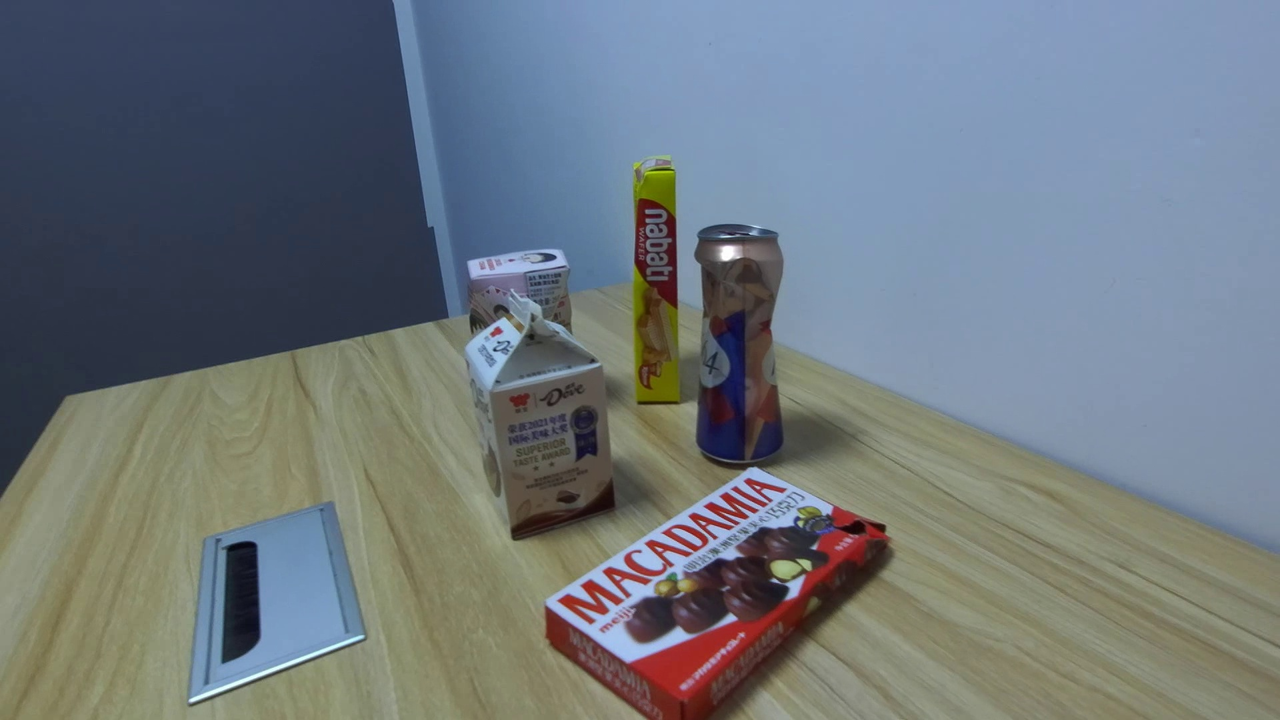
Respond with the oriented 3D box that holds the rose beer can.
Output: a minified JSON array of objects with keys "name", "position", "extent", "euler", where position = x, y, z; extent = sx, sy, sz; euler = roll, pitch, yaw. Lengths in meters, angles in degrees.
[{"name":"rose beer can","position":[0.072,-0.010,0.502],"extent":[0.065,0.167,0.076],"euler":[0,19,5]}]

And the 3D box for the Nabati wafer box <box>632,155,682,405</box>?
[{"name":"Nabati wafer box","position":[0.013,-0.069,0.618],"extent":[0.042,0.203,0.096],"euler":[-2,23,3]}]

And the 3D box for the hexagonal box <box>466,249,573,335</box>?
[{"name":"hexagonal box","position":[-0.098,-0.022,0.613],"extent":[0.088,0.135,0.093],"euler":[13,28,36]}]

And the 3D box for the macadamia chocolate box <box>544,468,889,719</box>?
[{"name":"macadamia chocolate box","position":[0.050,0.115,0.382],"extent":[0.102,0.027,0.187],"euler":[19,31,41]}]

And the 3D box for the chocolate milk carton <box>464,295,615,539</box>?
[{"name":"chocolate milk carton","position":[-0.066,0.027,0.460],"extent":[0.074,0.148,0.075],"euler":[-14,25,-20]}]
